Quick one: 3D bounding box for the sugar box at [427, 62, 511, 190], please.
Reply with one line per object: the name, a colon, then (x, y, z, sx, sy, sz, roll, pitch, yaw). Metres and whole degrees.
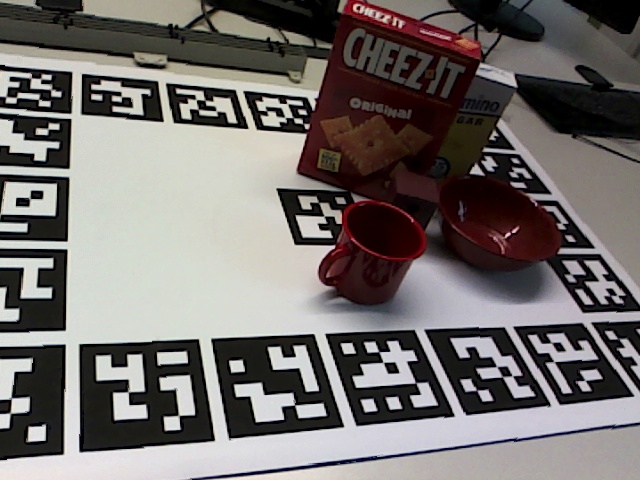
sugar box: (0.173, -0.154, 0.827, 0.093, 0.176, 0.045, 15, 40, -5)

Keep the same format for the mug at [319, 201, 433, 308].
mug: (0.052, 0.019, 0.649, 0.116, 0.081, 0.094, -7, 38, -27)

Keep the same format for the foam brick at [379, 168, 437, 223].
foam brick: (0.101, -0.037, 0.749, 0.052, 0.078, 0.051, 11, 39, -9)

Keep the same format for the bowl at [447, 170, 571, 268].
bowl: (0.224, -0.017, 0.770, 0.161, 0.055, 0.162, 11, 41, -10)

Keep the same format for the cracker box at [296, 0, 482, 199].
cracker box: (0.079, -0.159, 0.767, 0.164, 0.213, 0.072, 21, 37, 1)
